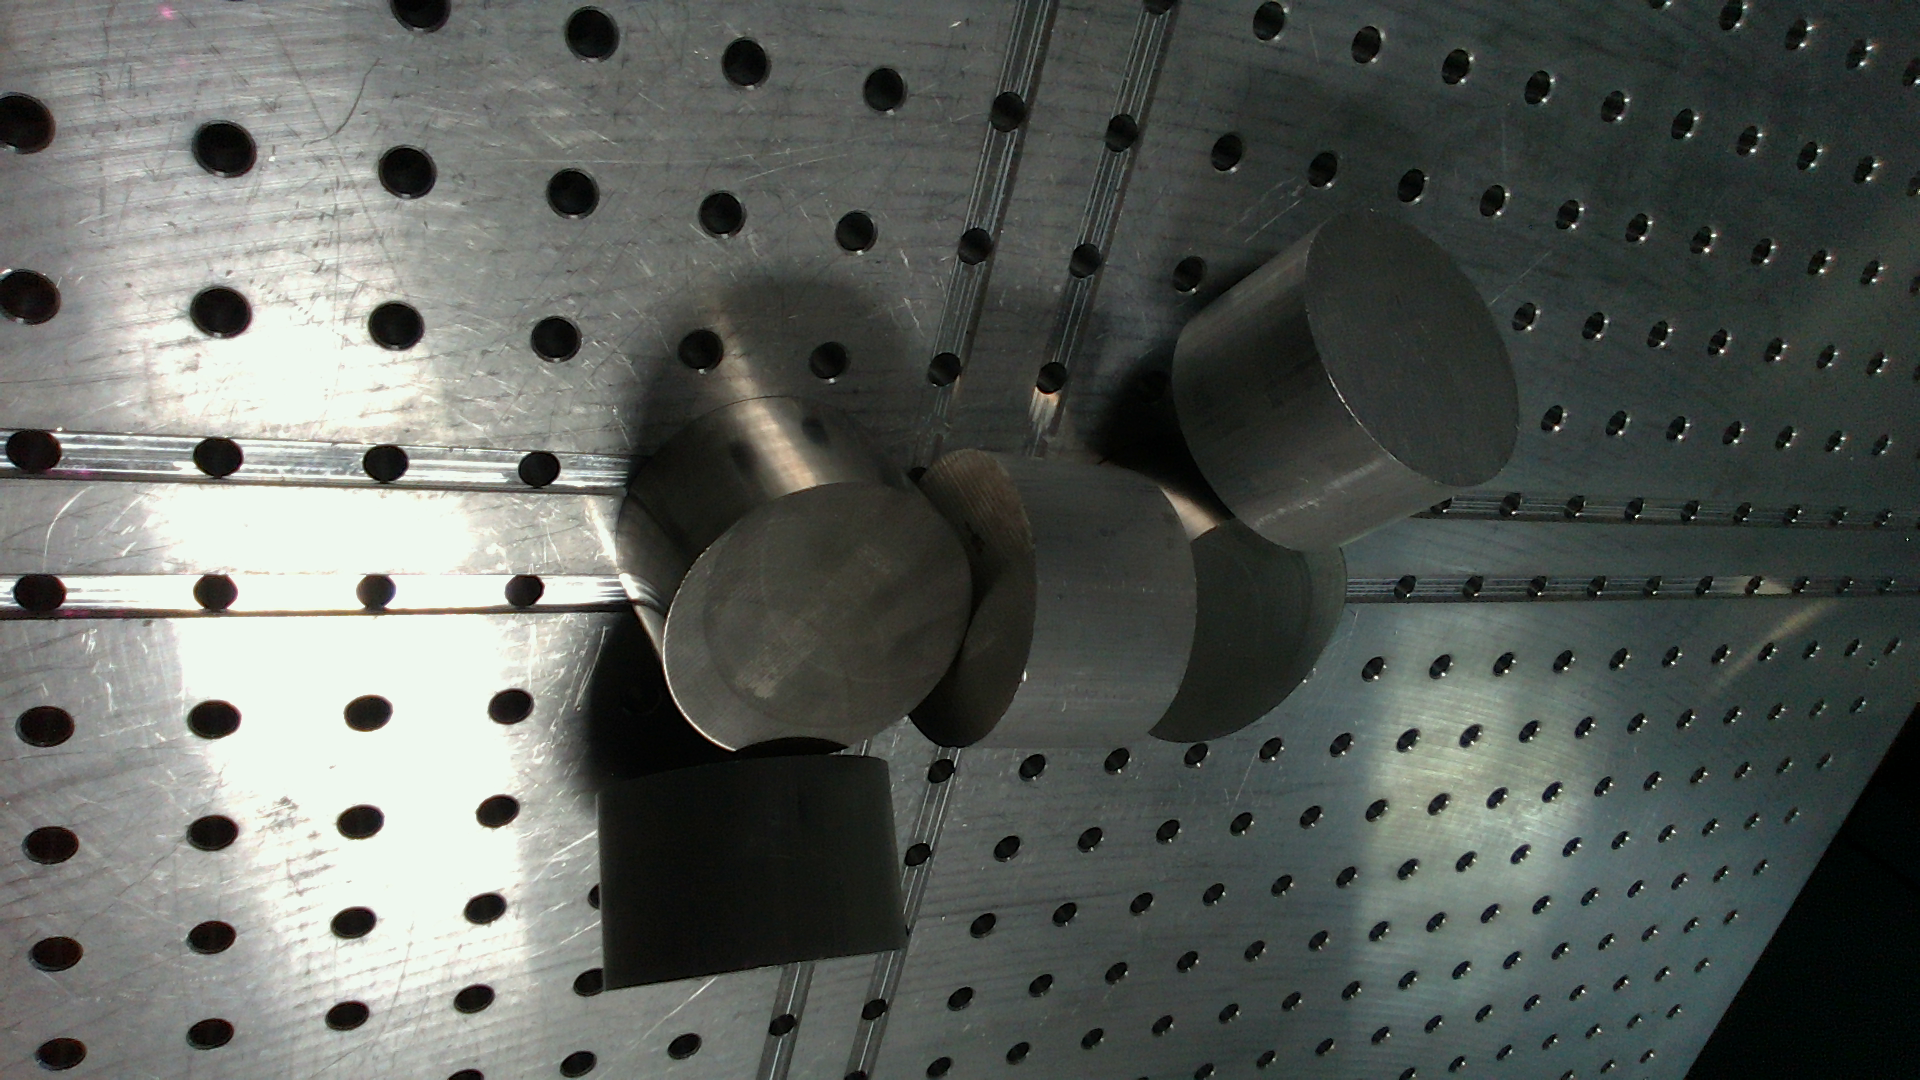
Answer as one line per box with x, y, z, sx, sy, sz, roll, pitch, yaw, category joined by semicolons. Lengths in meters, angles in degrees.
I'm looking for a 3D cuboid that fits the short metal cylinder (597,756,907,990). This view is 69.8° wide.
-0.057;0.091;0.375;0.080;0.050;0.080;-7;164;-2;short metal cylinder

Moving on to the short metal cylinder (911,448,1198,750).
0.020;0.017;0.378;0.050;0.080;0.080;5;116;-30;short metal cylinder

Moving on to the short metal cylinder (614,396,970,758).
-0.044;0.009;0.357;0.080;0.050;0.080;-14;124;-21;short metal cylinder

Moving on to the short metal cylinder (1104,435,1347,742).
0.070;0.014;0.422;0.080;0.050;0.080;-14;124;-21;short metal cylinder

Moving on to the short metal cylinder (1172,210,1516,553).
0.106;-0.042;0.379;0.080;0.080;0.050;9;156;-32;short metal cylinder
